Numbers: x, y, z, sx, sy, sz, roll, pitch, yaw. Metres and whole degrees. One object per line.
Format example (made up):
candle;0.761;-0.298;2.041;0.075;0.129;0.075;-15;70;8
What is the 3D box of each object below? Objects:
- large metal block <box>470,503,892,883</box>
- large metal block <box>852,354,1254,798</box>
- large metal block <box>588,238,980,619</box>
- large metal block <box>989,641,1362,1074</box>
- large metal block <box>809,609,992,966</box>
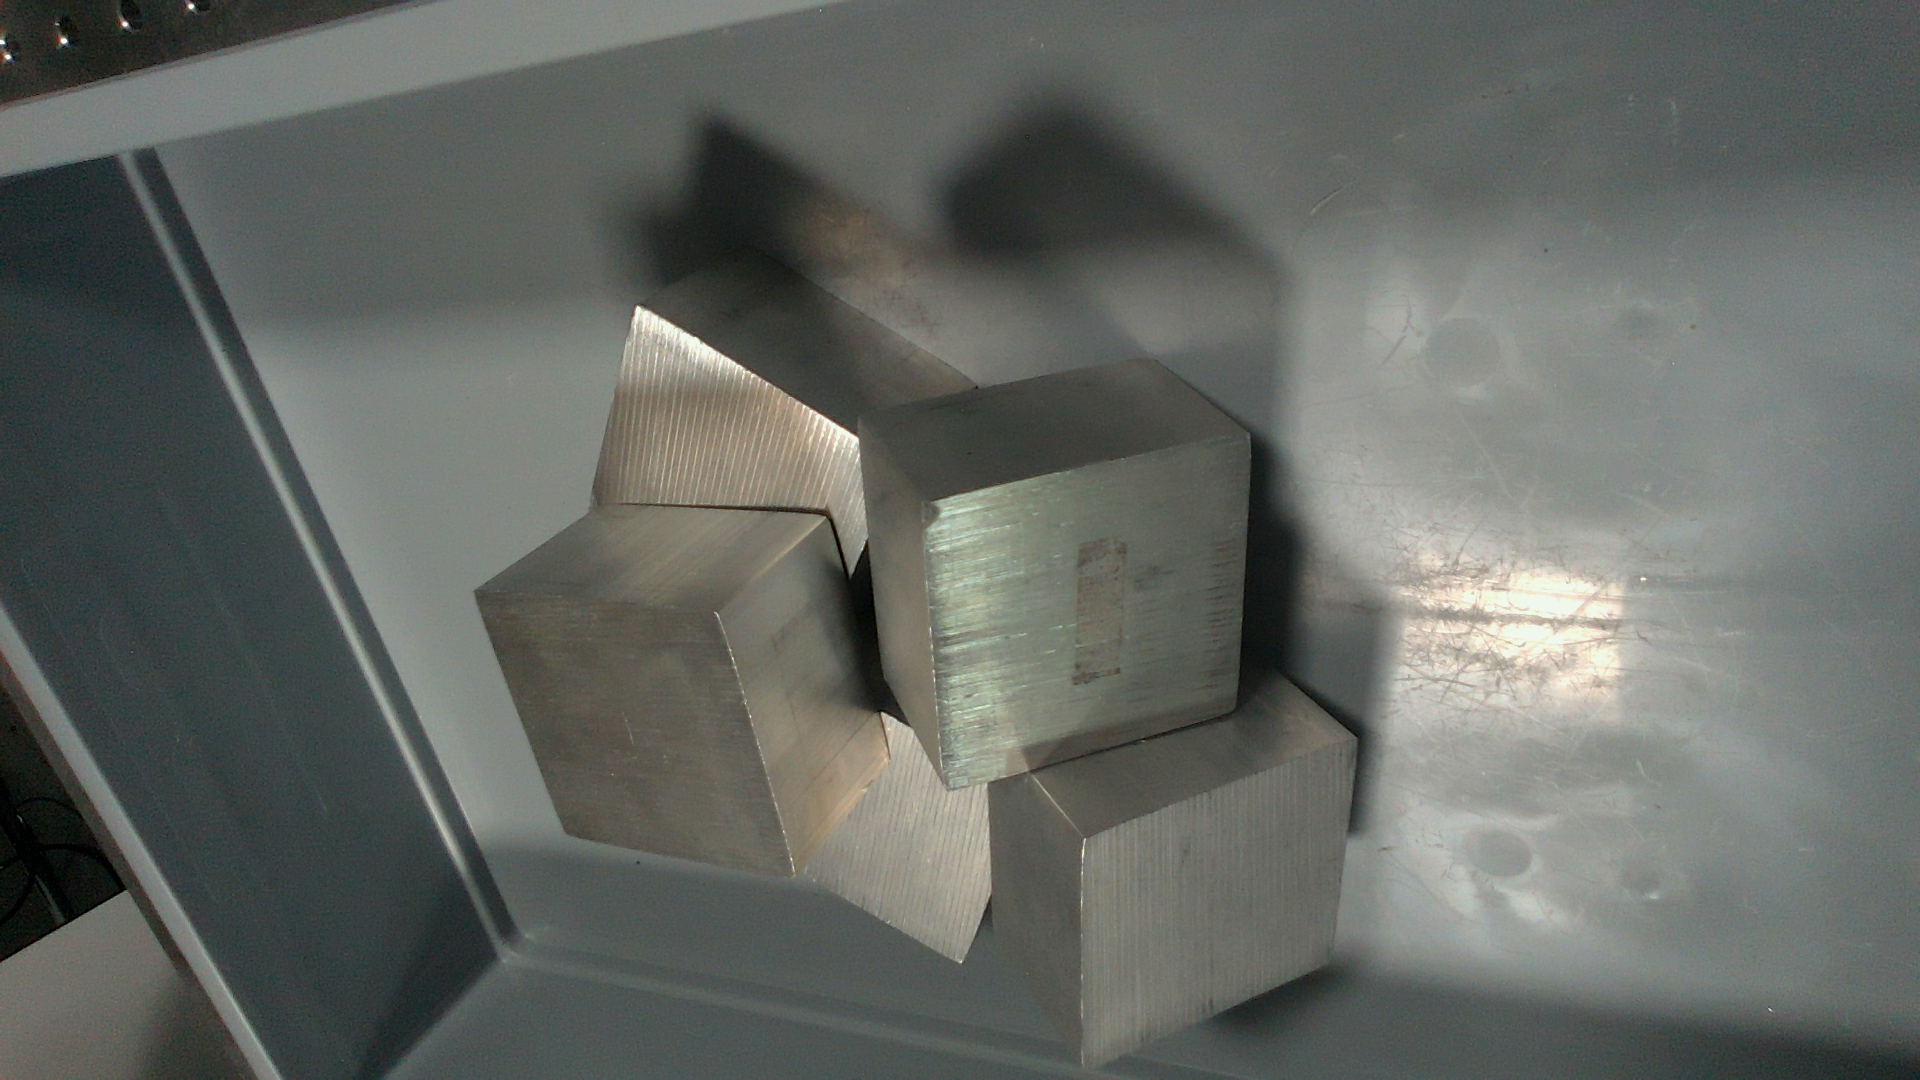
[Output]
large metal block;-0.073;0.038;0.372;0.080;0.050;0.080;3;119;28
large metal block;0.022;0.007;0.340;0.080;0.050;0.080;-13;121;-16
large metal block;-0.052;-0.024;0.389;0.080;0.050;0.080;31;129;8
large metal block;0.055;0.082;0.368;0.050;0.080;0.080;45;145;52
large metal block;-0.015;0.070;0.423;0.080;0.050;0.080;26;128;12
